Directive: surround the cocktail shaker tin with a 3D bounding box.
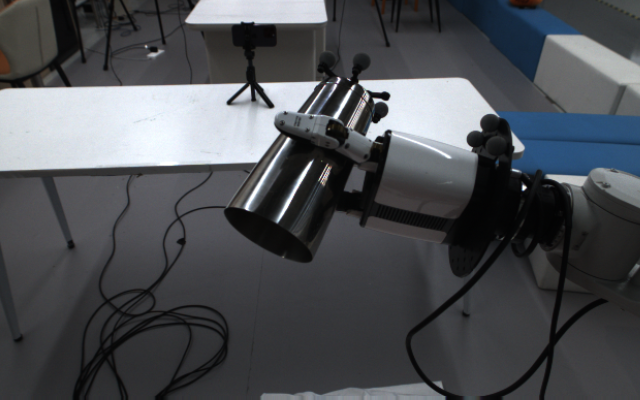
[{"bbox_3d":[-0.006,-0.038,0.468,0.093,0.093,0.170,18,66,21],"label":"cocktail shaker tin"}]
